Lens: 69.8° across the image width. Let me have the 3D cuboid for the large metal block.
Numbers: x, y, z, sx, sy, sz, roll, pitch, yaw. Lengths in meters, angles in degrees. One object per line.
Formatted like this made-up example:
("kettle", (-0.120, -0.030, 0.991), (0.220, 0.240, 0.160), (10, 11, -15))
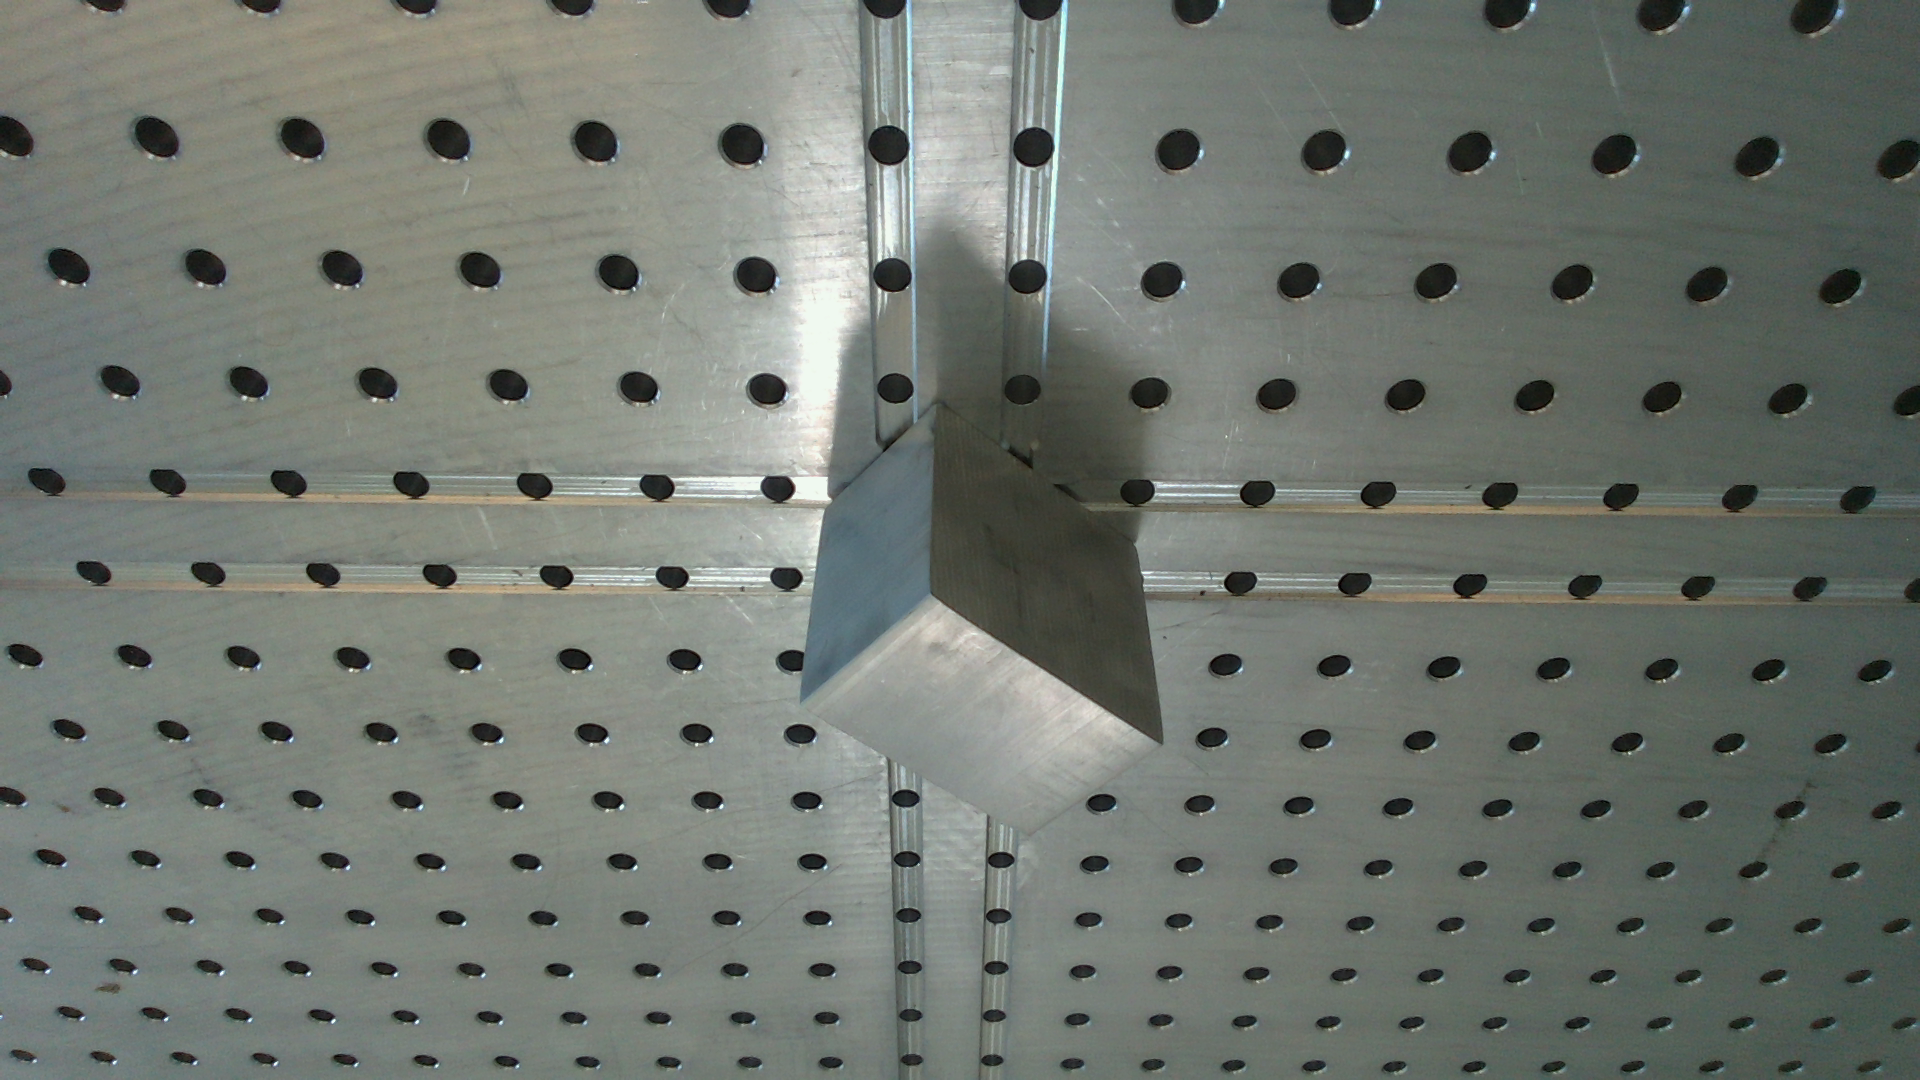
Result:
("large metal block", (0.006, 0.021, 0.375), (0.080, 0.080, 0.050), (34, 123, -26))
